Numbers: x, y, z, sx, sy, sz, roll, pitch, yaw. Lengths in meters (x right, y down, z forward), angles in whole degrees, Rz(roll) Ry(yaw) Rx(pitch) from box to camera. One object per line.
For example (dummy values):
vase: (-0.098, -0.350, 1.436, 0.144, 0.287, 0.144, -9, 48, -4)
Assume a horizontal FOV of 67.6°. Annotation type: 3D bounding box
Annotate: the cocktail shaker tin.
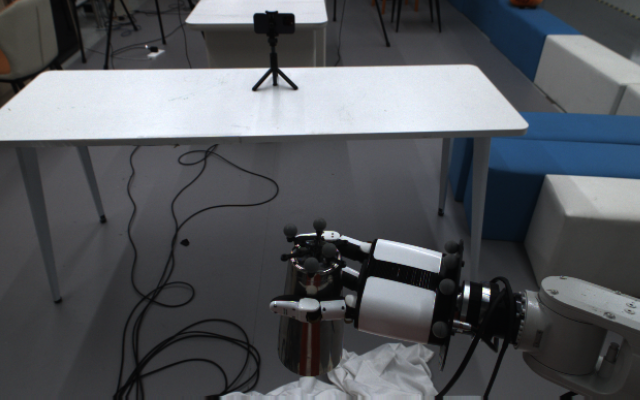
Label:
cocktail shaker tin: (-0.008, 0.136, 0.637, 0.093, 0.170, 0.093, 2, 33, -2)
